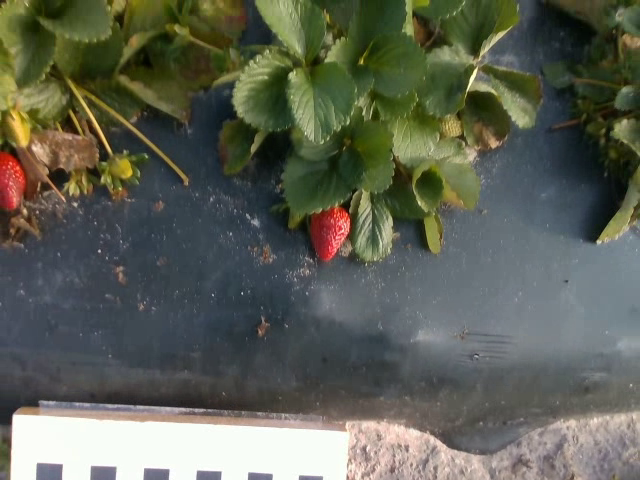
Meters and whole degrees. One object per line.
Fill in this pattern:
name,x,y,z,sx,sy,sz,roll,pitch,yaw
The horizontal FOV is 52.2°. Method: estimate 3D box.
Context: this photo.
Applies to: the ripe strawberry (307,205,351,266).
ripe strawberry,0.005,-0.002,0.369,0.029,0.036,0.021,7,-6,-3
